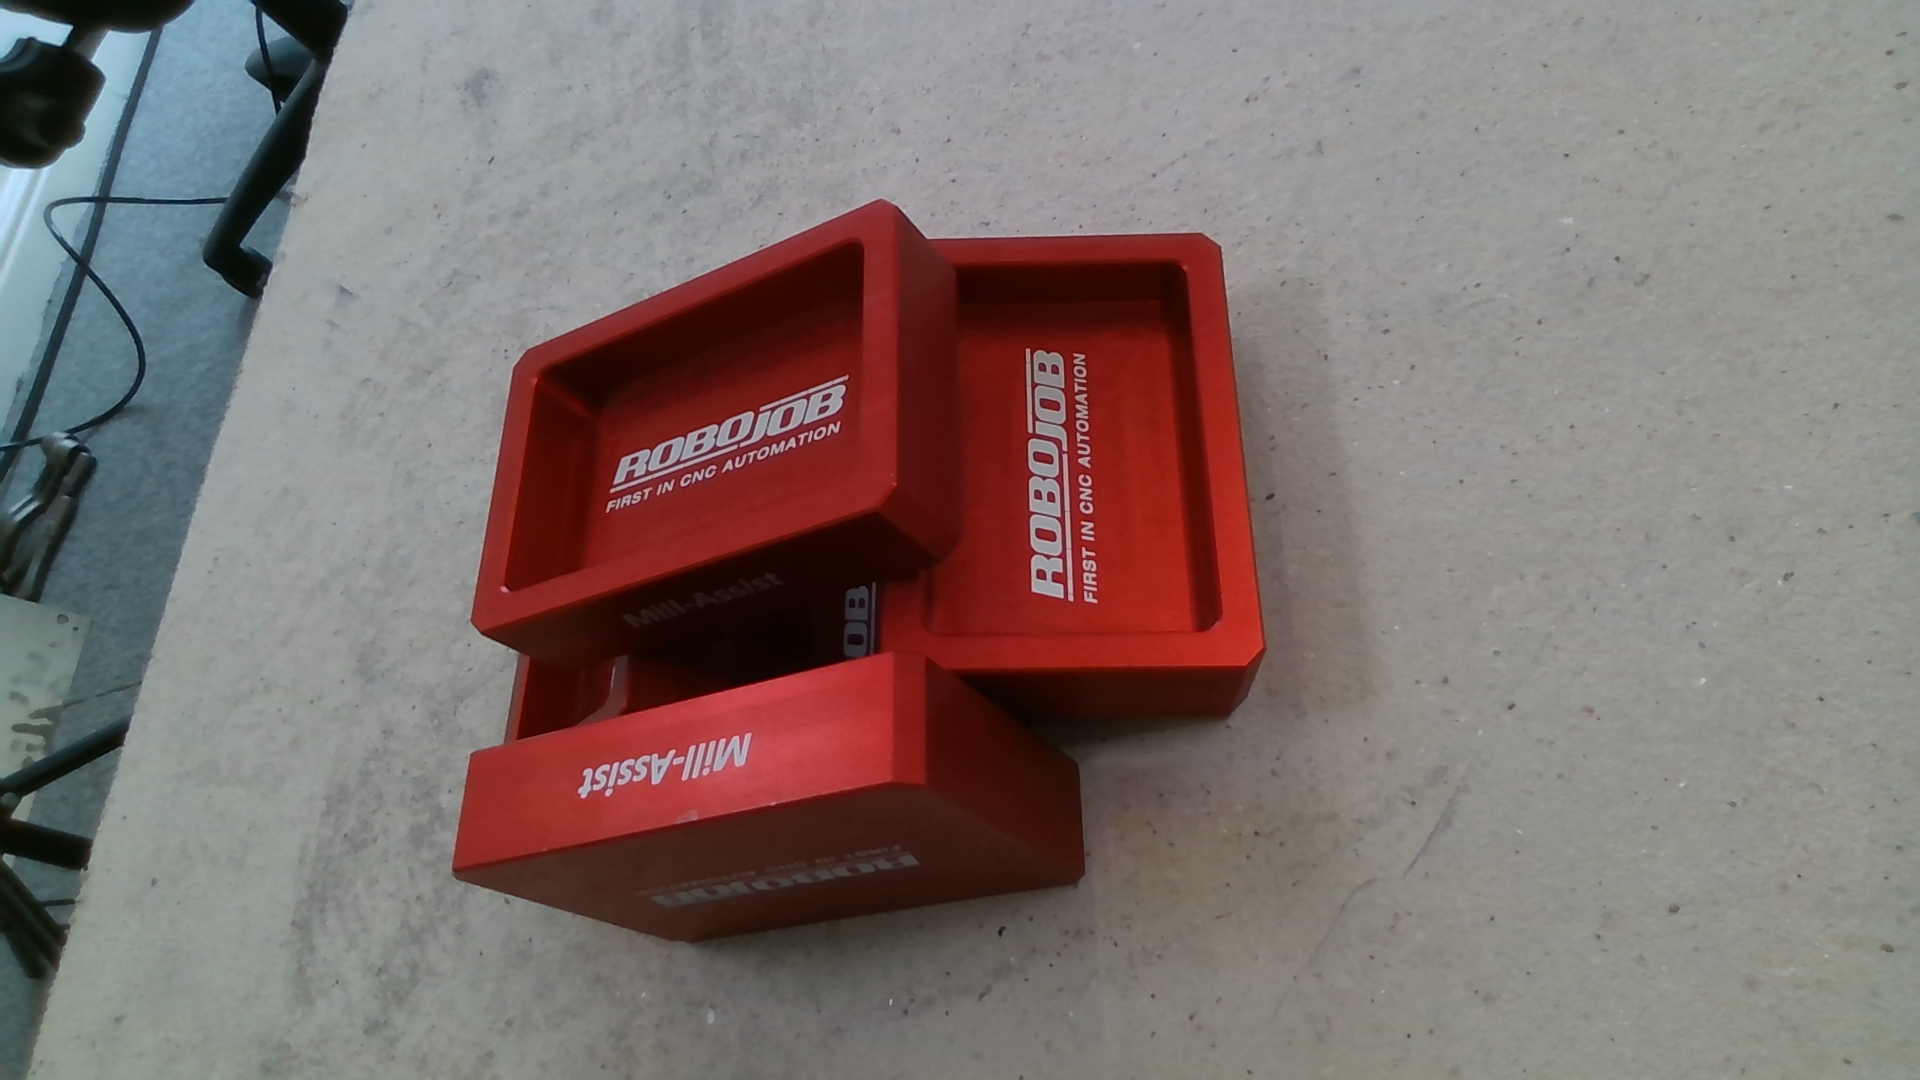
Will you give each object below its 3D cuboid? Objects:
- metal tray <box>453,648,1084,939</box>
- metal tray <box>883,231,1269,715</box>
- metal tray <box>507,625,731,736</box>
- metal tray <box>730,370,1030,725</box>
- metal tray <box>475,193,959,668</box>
[{"bbox_3d":[-0.046,0.069,0.342,0.130,0.090,0.030,-15,58,25],"label":"metal tray"},{"bbox_3d":[0.027,-0.020,0.361,0.090,0.030,0.130,-1,62,1],"label":"metal tray"},{"bbox_3d":[-0.103,0.011,0.425,0.090,0.030,0.130,-32,48,45],"label":"metal tray"},{"bbox_3d":[-0.028,0.007,0.401,0.090,0.030,0.130,-16,58,26],"label":"metal tray"},{"bbox_3d":[-0.064,-0.026,0.359,0.130,0.030,0.090,-17,58,26],"label":"metal tray"}]
